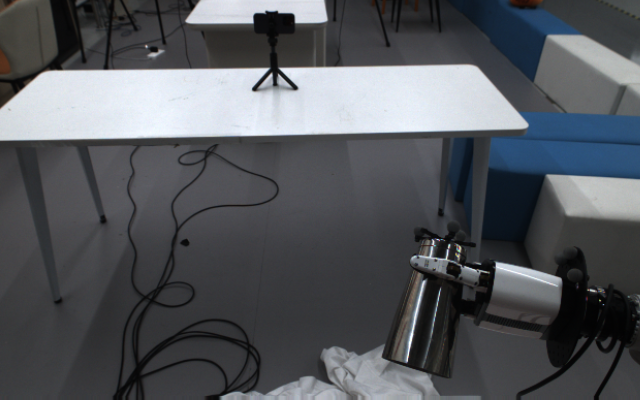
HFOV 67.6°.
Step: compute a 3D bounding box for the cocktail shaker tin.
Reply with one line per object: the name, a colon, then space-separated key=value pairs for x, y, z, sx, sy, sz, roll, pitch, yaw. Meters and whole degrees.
cocktail shaker tin: x=0.151 y=0.140 z=0.661 sx=0.093 sy=0.093 sz=0.170 roll=13 pitch=71 yaw=15
